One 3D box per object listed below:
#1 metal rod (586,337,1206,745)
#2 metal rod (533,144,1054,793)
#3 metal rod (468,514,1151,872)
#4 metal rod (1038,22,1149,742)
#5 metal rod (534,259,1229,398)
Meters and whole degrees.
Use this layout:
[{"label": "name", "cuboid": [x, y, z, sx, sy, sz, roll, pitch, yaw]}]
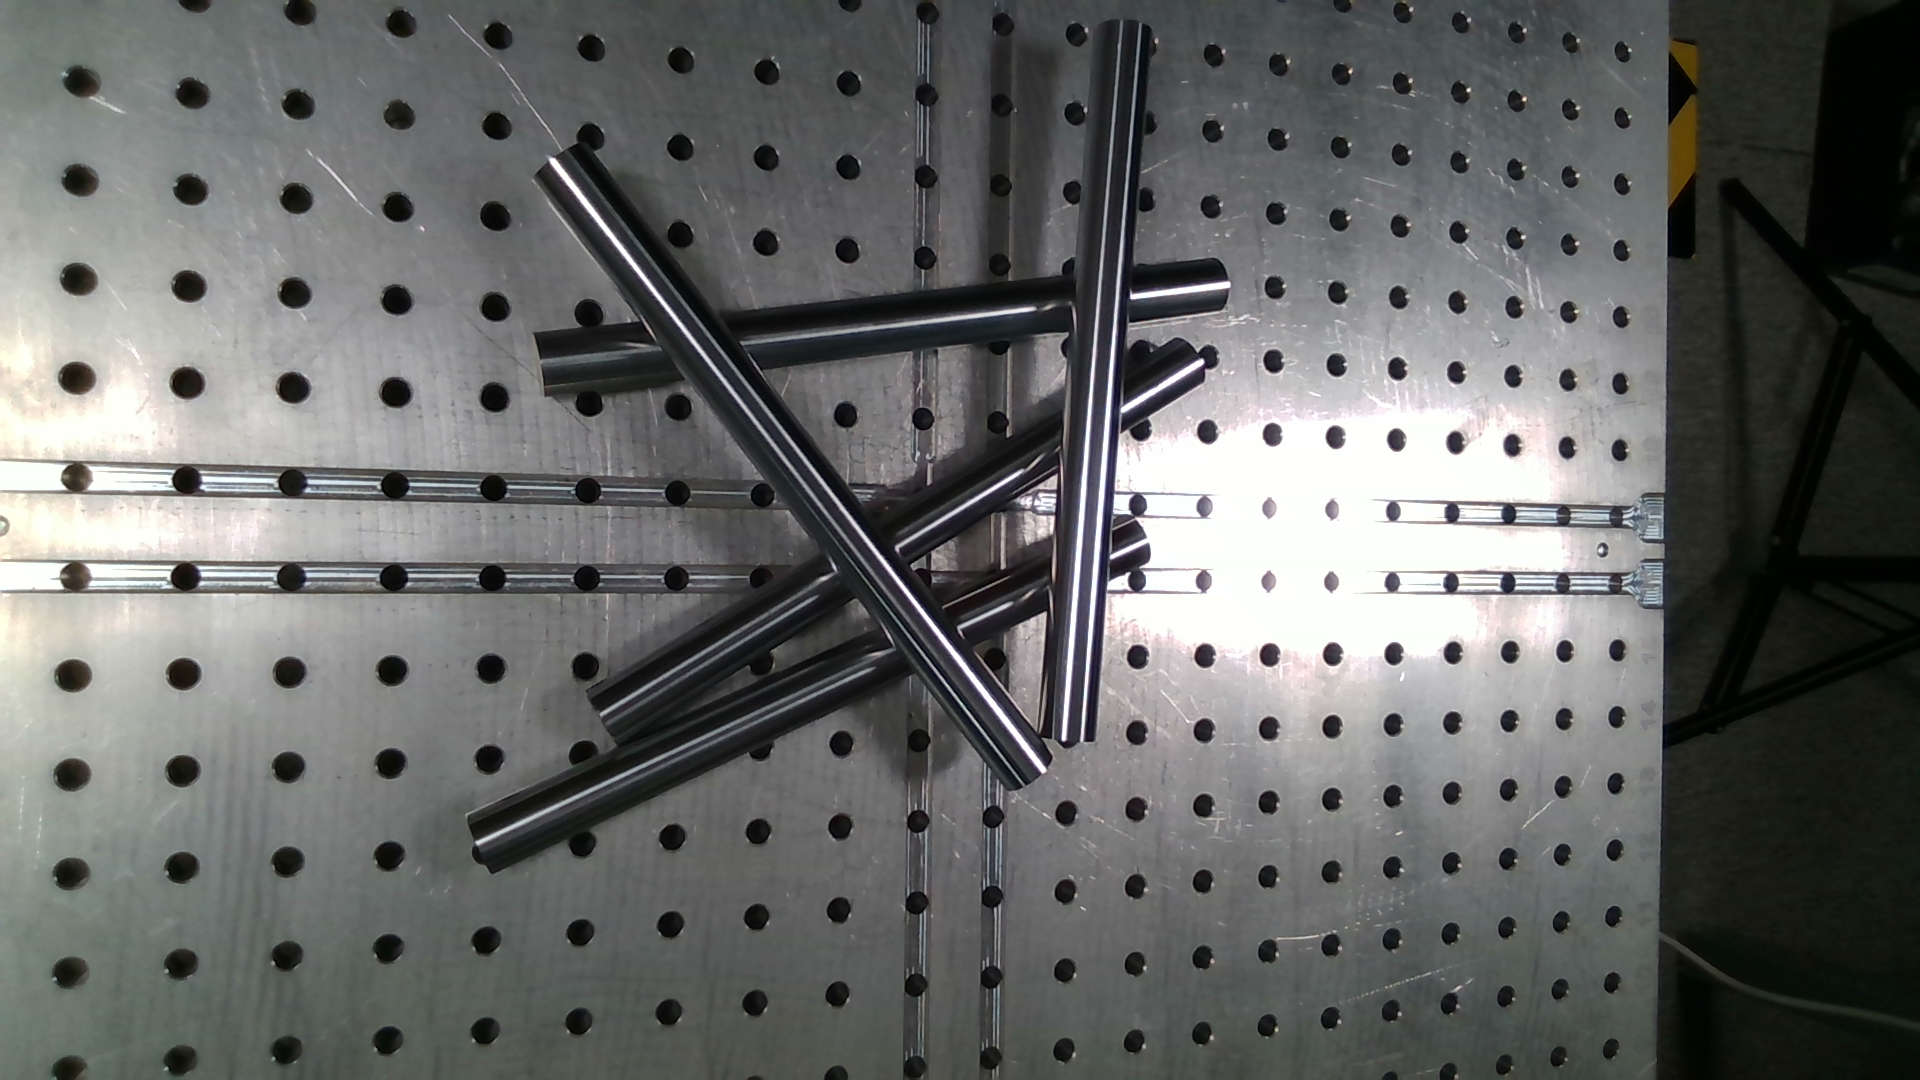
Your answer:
[{"label": "metal rod", "cuboid": [-0.018, -0.006, 0.581, 0.300, 0.025, 0.025, -32, 101, -17]}, {"label": "metal rod", "cuboid": [-0.059, -0.021, 0.539, 0.025, 0.025, 0.300, -40, 103, -16]}, {"label": "metal rod", "cuboid": [-0.051, 0.057, 0.569, 0.300, 0.025, 0.025, -24, 98, -19]}, {"label": "metal rod", "cuboid": [0.056, -0.066, 0.583, 0.025, 0.025, 0.300, 5, 88, -20]}, {"label": "metal rod", "cuboid": [-0.022, -0.091, 0.579, 0.300, 0.025, 0.025, -10, 94, -20]}]
